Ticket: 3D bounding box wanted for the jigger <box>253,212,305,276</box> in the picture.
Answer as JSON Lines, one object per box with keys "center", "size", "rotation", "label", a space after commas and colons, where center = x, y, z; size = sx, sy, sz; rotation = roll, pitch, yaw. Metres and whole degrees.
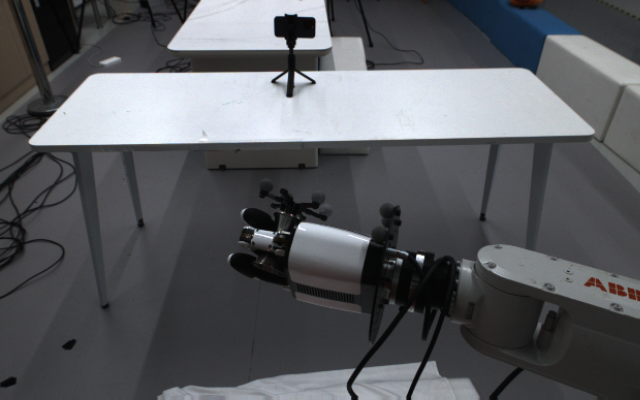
{"center": [-0.046, 0.053, 0.582], "size": [0.043, 0.043, 0.071], "rotation": [13, 70, 16], "label": "jigger"}
